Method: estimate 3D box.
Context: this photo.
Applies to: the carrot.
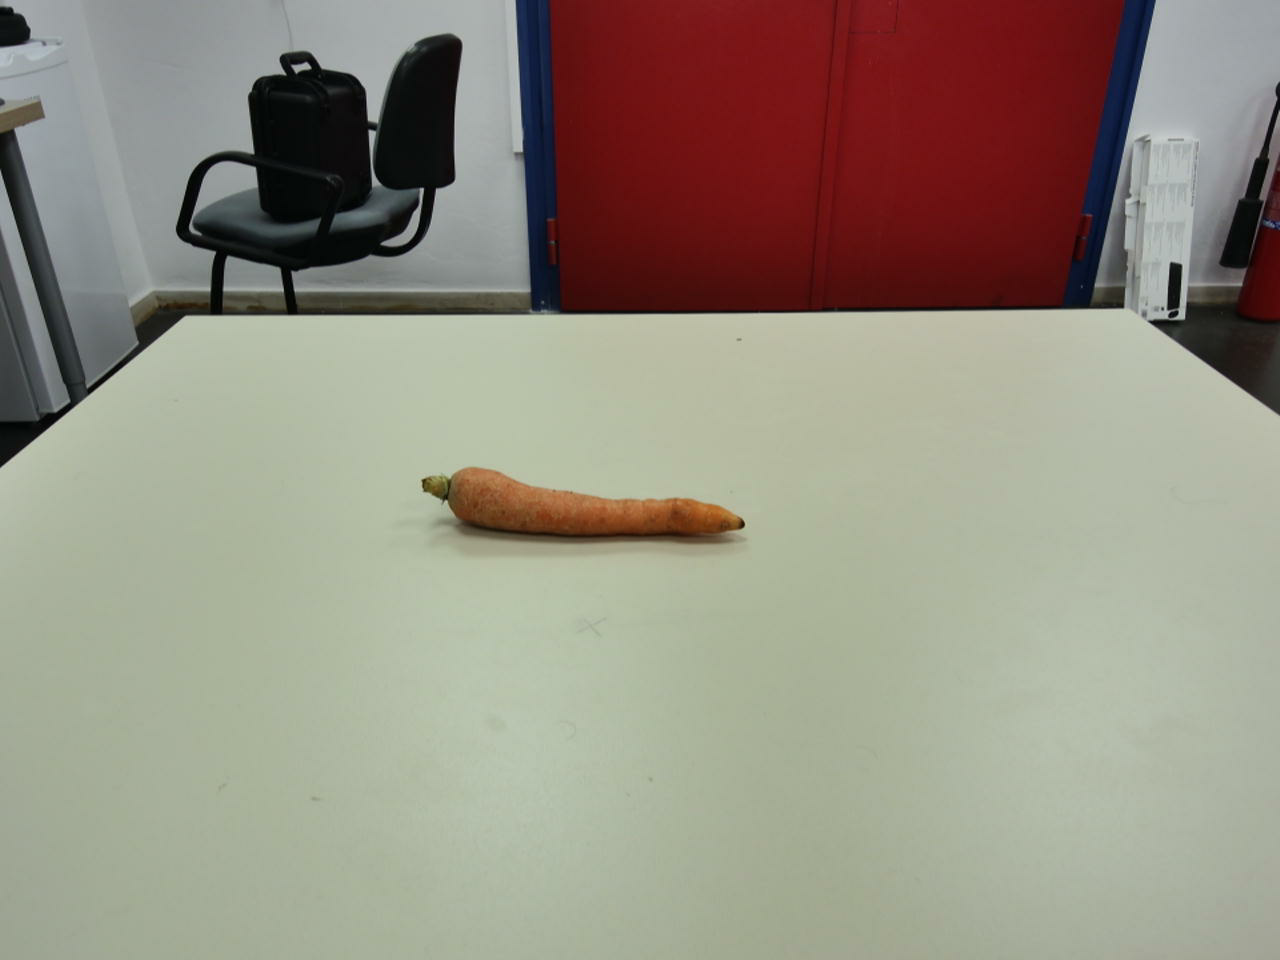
[{"bbox_3d":[-0.031,0.013,0.528,0.173,0.032,0.030,4,26,8],"label":"carrot"}]
